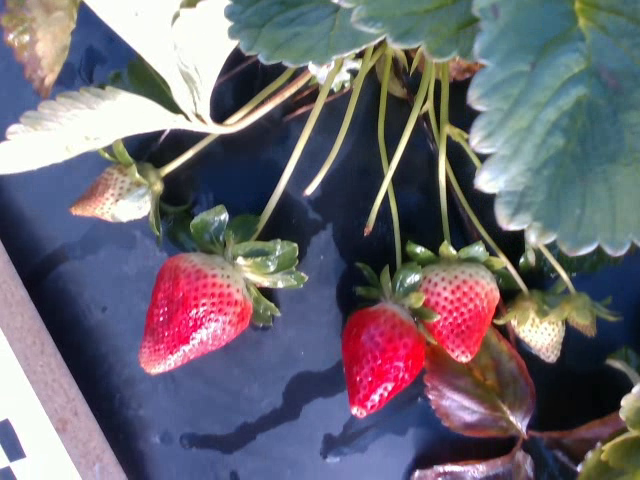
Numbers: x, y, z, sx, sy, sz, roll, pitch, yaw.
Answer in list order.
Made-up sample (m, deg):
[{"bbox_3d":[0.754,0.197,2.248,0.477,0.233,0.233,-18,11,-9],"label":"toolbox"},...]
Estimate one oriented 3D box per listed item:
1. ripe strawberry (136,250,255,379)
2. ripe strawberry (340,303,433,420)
[{"bbox_3d":[-0.060,0.034,0.270,0.050,0.065,0.050,31,-22,25],"label":"ripe strawberry"},{"bbox_3d":[0.023,0.056,0.269,0.044,0.055,0.042,6,-30,35],"label":"ripe strawberry"}]
